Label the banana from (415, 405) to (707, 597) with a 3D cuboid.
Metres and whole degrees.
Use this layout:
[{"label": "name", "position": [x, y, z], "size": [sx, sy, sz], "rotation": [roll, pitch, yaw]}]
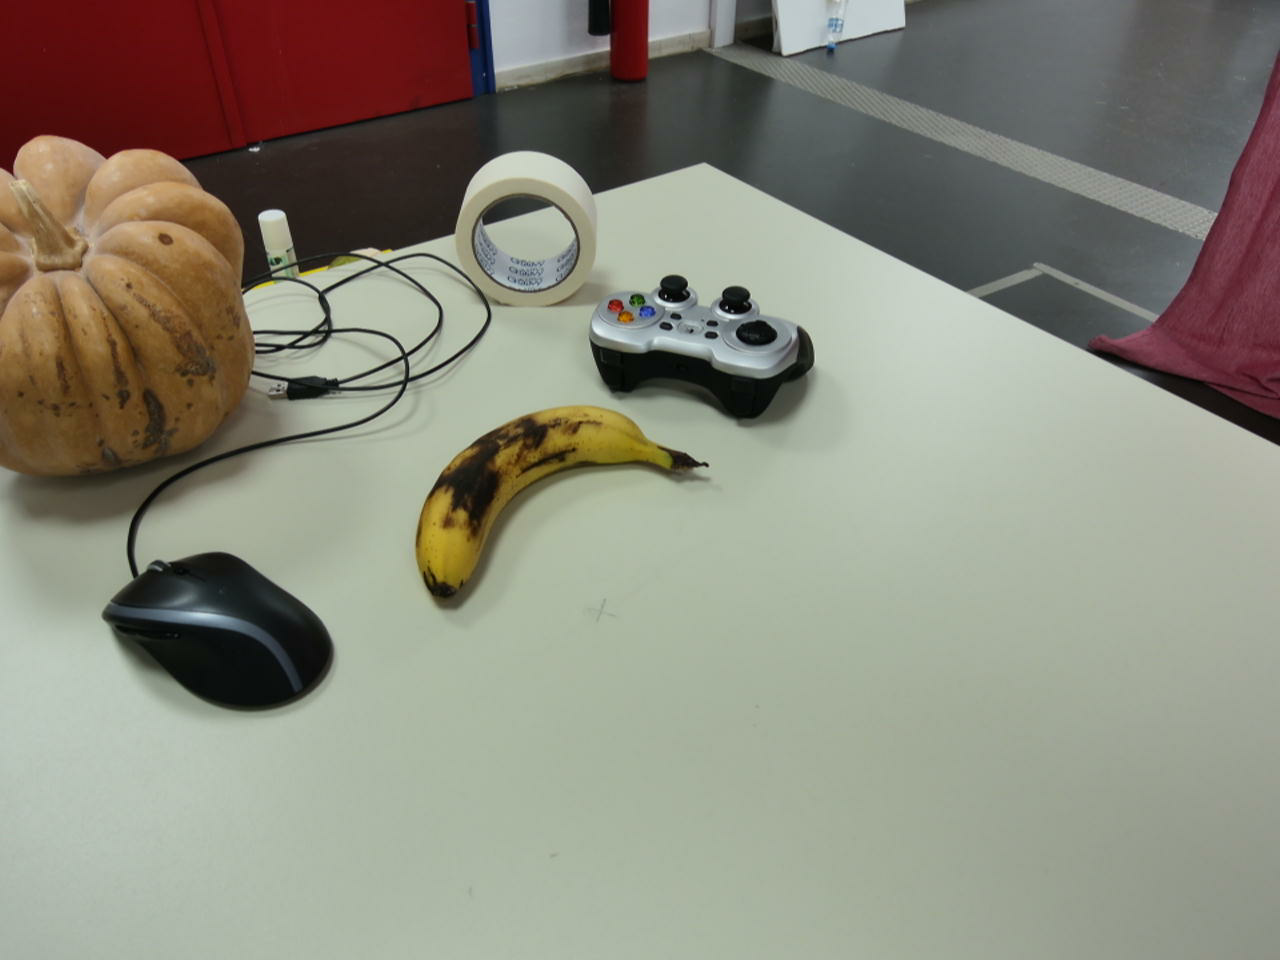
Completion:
[{"label": "banana", "position": [-0.061, -0.001, 0.590], "size": [0.187, 0.039, 0.094], "rotation": [-25, 45, -30]}]
